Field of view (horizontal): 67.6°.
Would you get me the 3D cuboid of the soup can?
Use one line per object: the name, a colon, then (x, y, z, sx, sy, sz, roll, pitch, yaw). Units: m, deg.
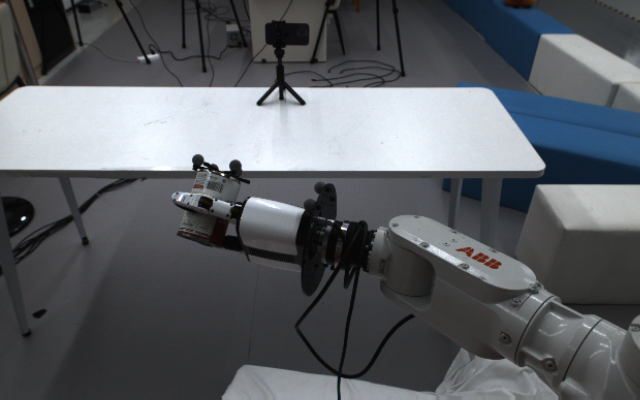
soup can: (-0.164, 0.014, 0.714, 0.067, 0.067, 0.101, 13, 77, 15)
